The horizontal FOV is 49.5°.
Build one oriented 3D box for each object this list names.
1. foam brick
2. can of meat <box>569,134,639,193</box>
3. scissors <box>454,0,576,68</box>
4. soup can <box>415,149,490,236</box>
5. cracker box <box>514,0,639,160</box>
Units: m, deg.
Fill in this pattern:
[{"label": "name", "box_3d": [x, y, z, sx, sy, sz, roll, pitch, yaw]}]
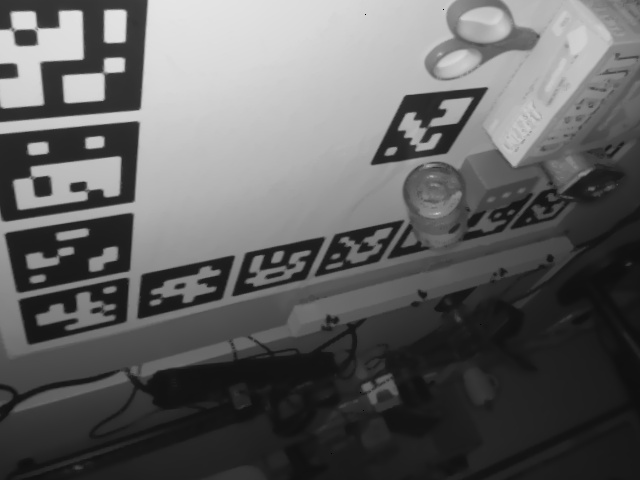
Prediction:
[{"label": "foam brick", "box_3d": [0.230, -0.082, 0.787, 0.079, 0.051, 0.052, -17, 148, -15]}, {"label": "can of meat", "box_3d": [0.330, -0.104, 0.793, 0.103, 0.084, 0.057, -2, 142, -35]}, {"label": "scissors", "box_3d": [0.207, -0.197, 0.602, 0.205, 0.016, 0.086, -14, 147, -20]}, {"label": "soup can", "box_3d": [0.150, -0.050, 0.773, 0.067, 0.068, 0.102, -31, 155, 9]}, {"label": "cracker box", "box_3d": [0.315, -0.172, 0.662, 0.216, 0.072, 0.162, -18, 150, -22]}]
